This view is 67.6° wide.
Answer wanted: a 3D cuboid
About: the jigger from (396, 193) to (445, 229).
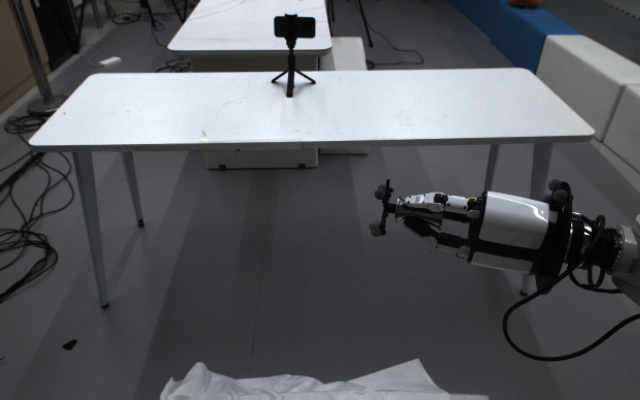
[{"bbox_3d":[0.155,0.014,0.722,0.071,0.043,0.043,8,35,13],"label":"jigger"}]
